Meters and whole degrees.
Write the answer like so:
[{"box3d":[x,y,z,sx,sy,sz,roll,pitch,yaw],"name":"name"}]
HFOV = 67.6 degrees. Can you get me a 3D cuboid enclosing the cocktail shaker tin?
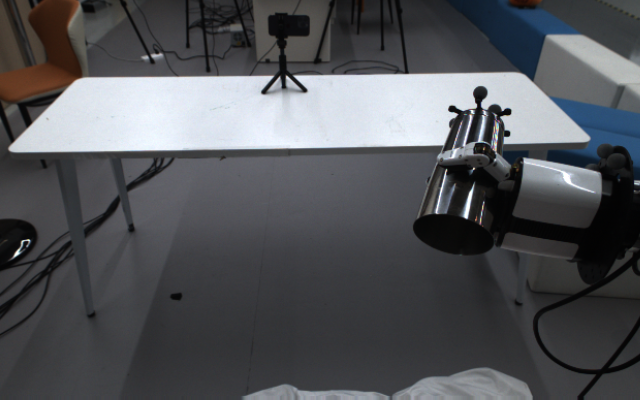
[{"box3d":[0.179,-0.029,0.594,0.093,0.093,0.170,14,60,17],"name":"cocktail shaker tin"}]
